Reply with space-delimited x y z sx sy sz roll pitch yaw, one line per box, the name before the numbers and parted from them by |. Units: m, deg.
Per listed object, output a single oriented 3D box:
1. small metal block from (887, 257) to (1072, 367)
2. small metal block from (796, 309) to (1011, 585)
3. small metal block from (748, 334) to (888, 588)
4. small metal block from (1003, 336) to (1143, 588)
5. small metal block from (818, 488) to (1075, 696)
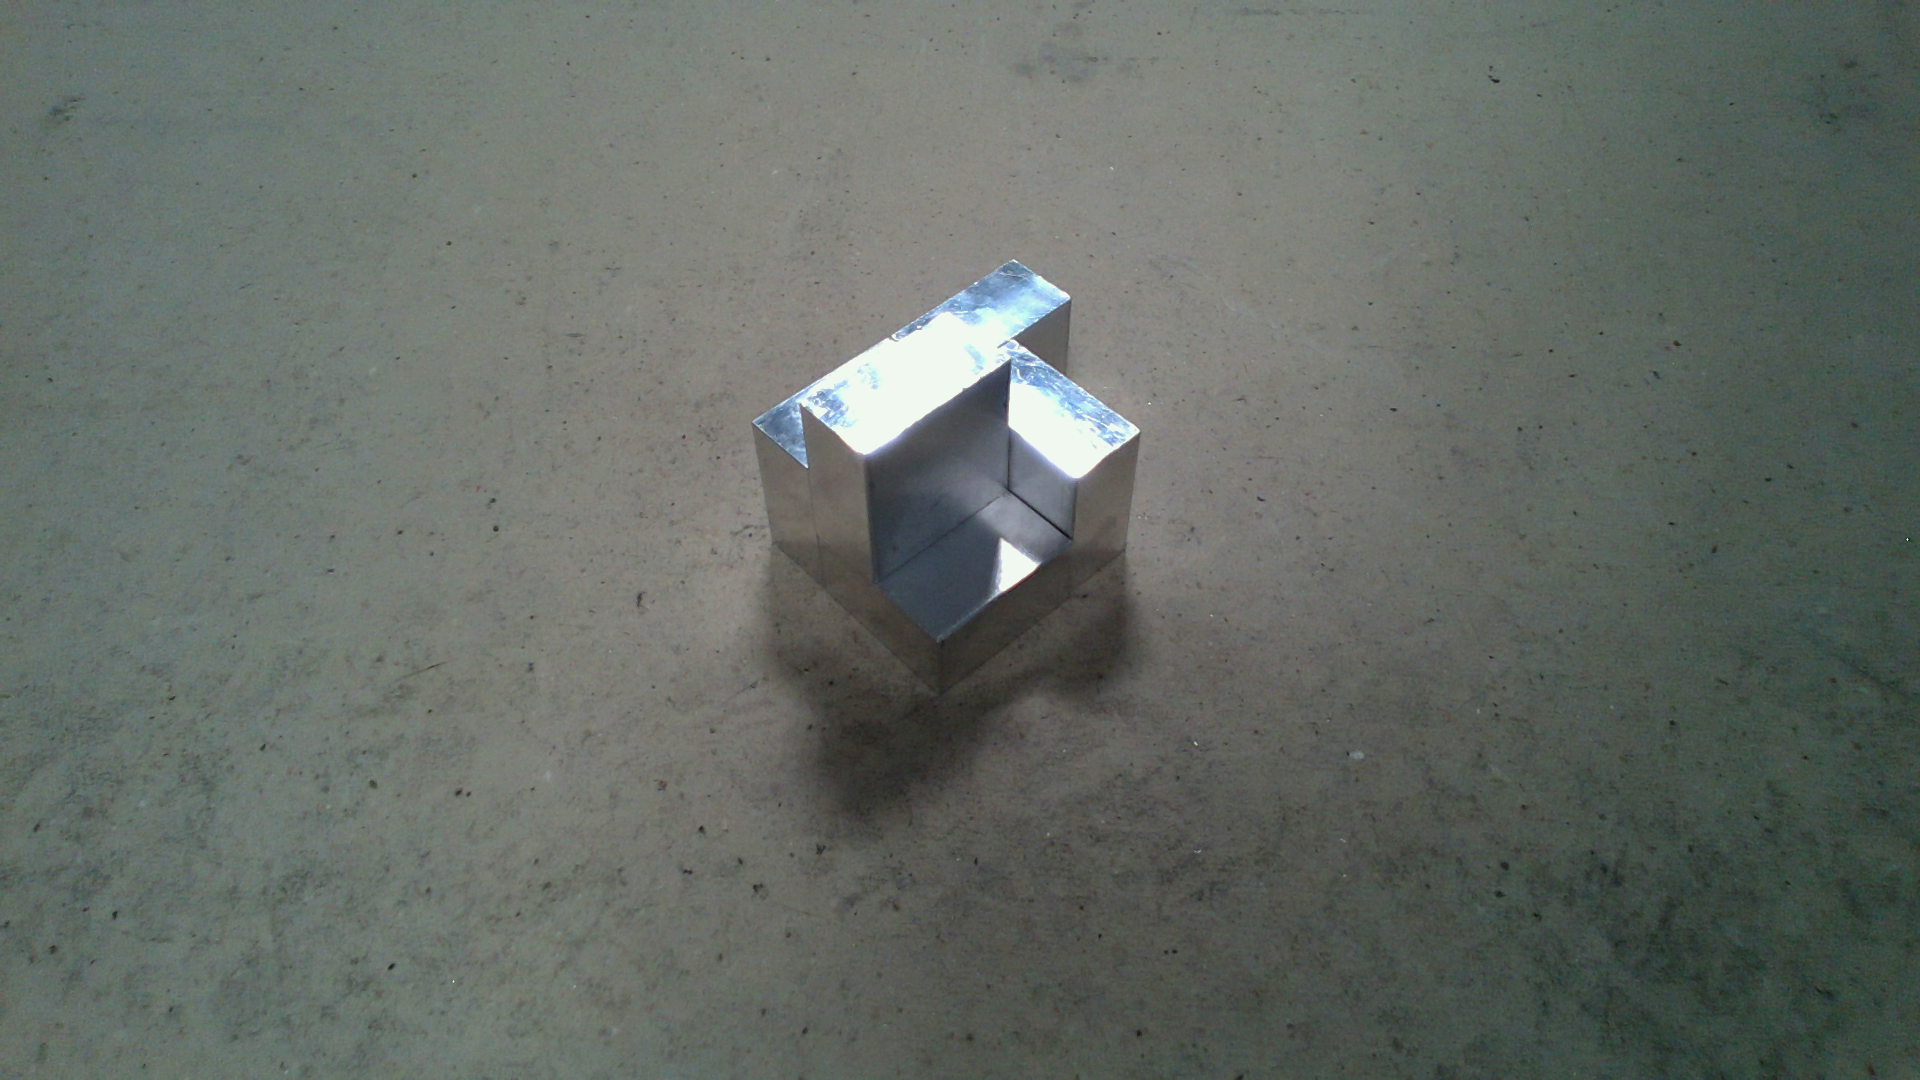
small metal block | 0.006 -0.049 0.416 0.050 0.050 0.025 -36 58 -26
small metal block | -0.014 -0.024 0.363 0.050 0.050 0.025 -36 58 -26
small metal block | -0.030 -0.022 0.394 0.050 0.050 0.025 -36 58 -26
small metal block | 0.023 -0.021 0.393 0.025 0.050 0.050 -36 58 -26
small metal block | -0.004 0.007 0.386 0.050 0.025 0.050 -35 58 -26
